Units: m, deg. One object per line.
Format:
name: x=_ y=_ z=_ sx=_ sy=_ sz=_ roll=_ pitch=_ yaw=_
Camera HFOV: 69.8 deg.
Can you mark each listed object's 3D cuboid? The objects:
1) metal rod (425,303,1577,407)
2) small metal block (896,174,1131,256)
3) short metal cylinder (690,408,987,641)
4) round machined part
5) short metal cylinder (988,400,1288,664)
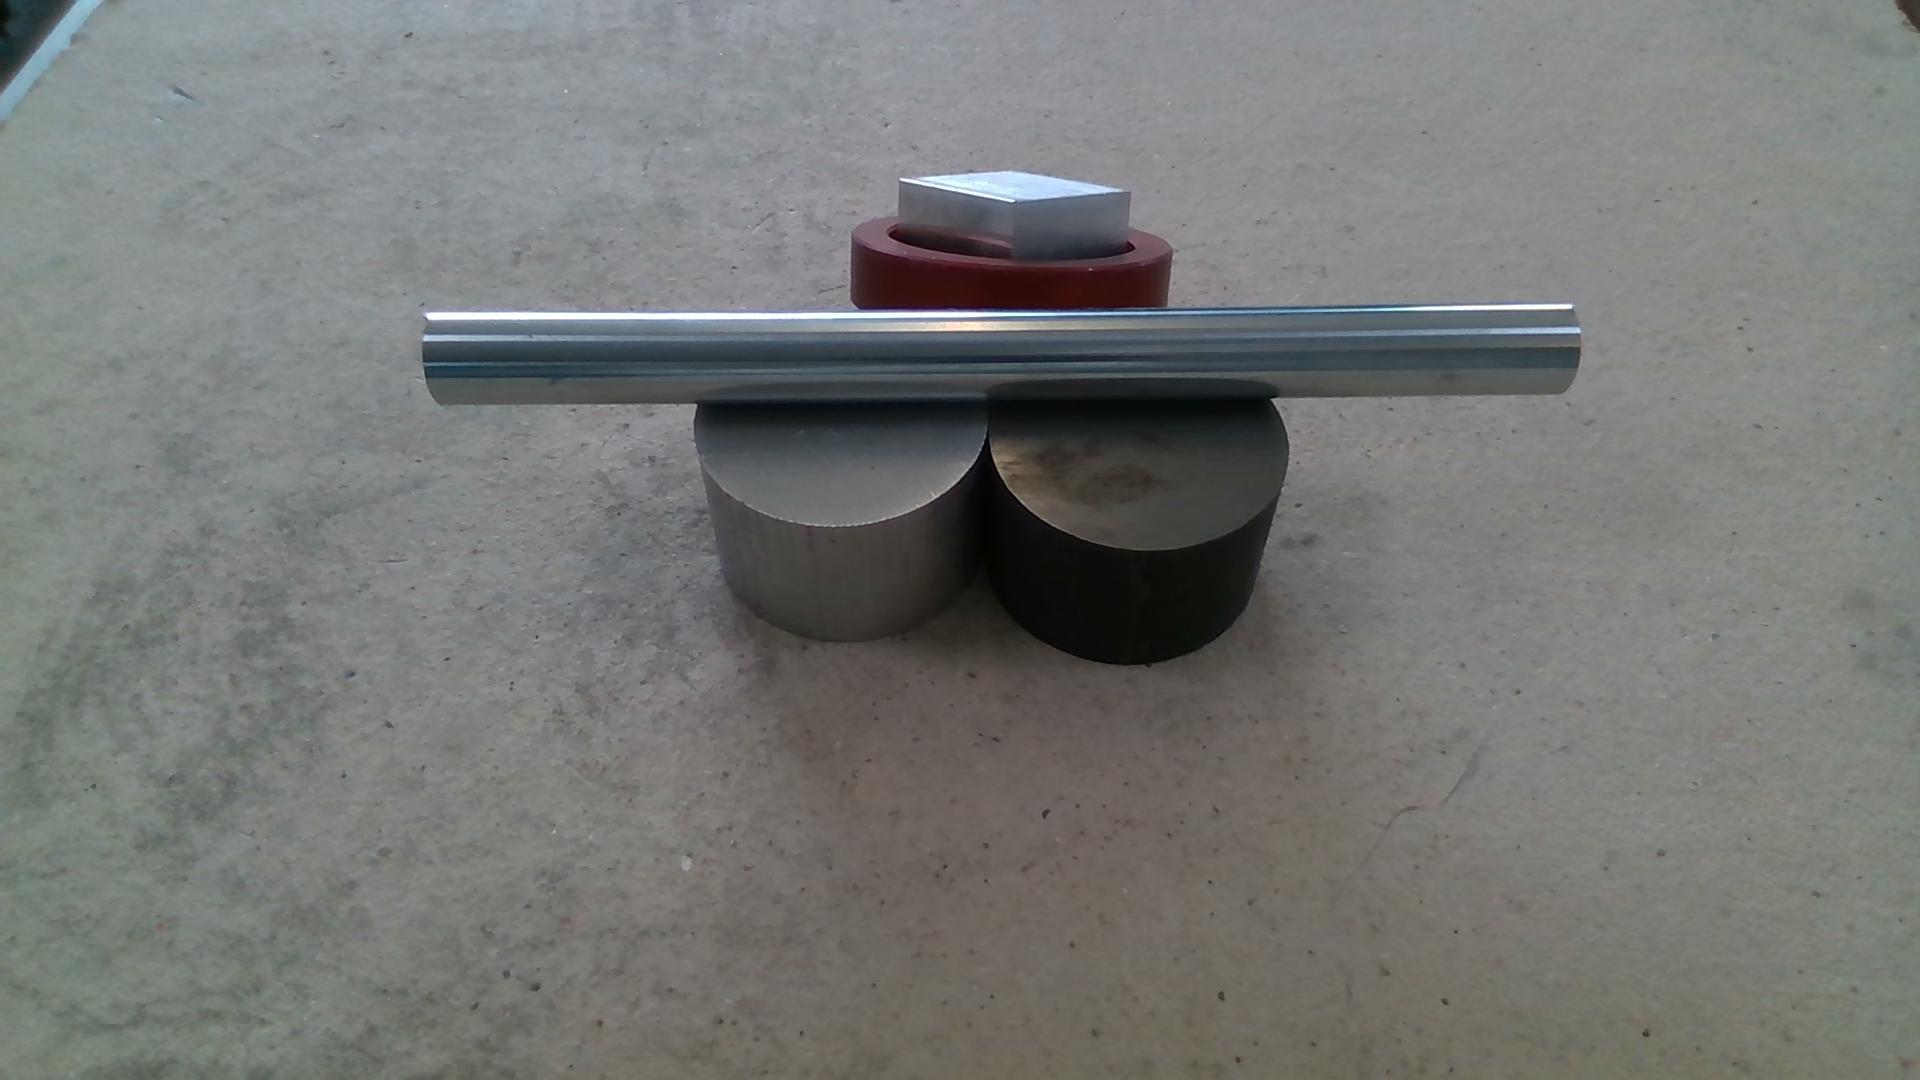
metal rod: x=0.012 y=-0.050 z=0.371 sx=0.300 sy=0.025 sz=0.025 roll=-1 pitch=50 yaw=-1
small metal block: x=0.016 y=-0.096 z=0.421 sx=0.050 sy=0.025 sz=0.050 roll=-16 pitch=28 yaw=-40
short metal cylinder: x=-0.033 y=-0.018 z=0.393 sx=0.080 sy=0.050 sz=0.080 roll=1 pitch=50 yaw=-1
round machined part: x=0.015 y=-0.073 z=0.428 sx=0.098 sy=0.042 sz=0.098 roll=2 pitch=21 yaw=-1
short metal cylinder: x=0.048 y=-0.012 z=0.388 sx=0.080 sy=0.050 sz=0.080 roll=0 pitch=50 yaw=0
